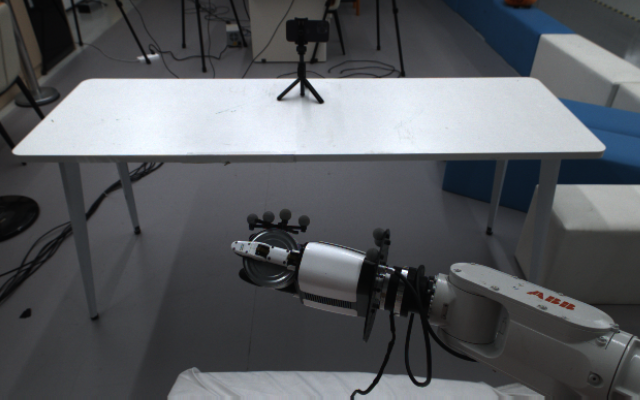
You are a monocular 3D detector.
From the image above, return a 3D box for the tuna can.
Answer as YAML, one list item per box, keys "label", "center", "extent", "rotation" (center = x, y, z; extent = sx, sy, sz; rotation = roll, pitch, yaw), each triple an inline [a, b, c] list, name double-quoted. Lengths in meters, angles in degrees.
- label: "tuna can"
  center: [-0.066, 0.087, 0.707]
  extent: [0.085, 0.034, 0.085]
  rotation: [-3, 73, 10]
